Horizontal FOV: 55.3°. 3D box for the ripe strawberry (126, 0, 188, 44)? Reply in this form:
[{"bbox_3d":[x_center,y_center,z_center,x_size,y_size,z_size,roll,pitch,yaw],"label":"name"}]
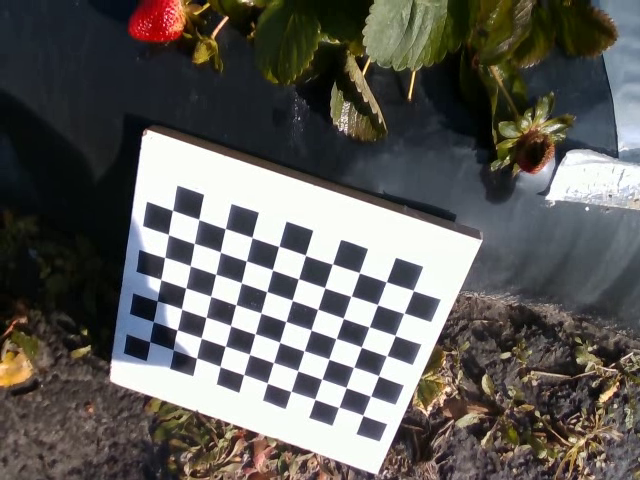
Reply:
[{"bbox_3d":[-0.133,-0.179,0.492,0.053,0.043,0.038,-36,16,-21],"label":"ripe strawberry"}]
